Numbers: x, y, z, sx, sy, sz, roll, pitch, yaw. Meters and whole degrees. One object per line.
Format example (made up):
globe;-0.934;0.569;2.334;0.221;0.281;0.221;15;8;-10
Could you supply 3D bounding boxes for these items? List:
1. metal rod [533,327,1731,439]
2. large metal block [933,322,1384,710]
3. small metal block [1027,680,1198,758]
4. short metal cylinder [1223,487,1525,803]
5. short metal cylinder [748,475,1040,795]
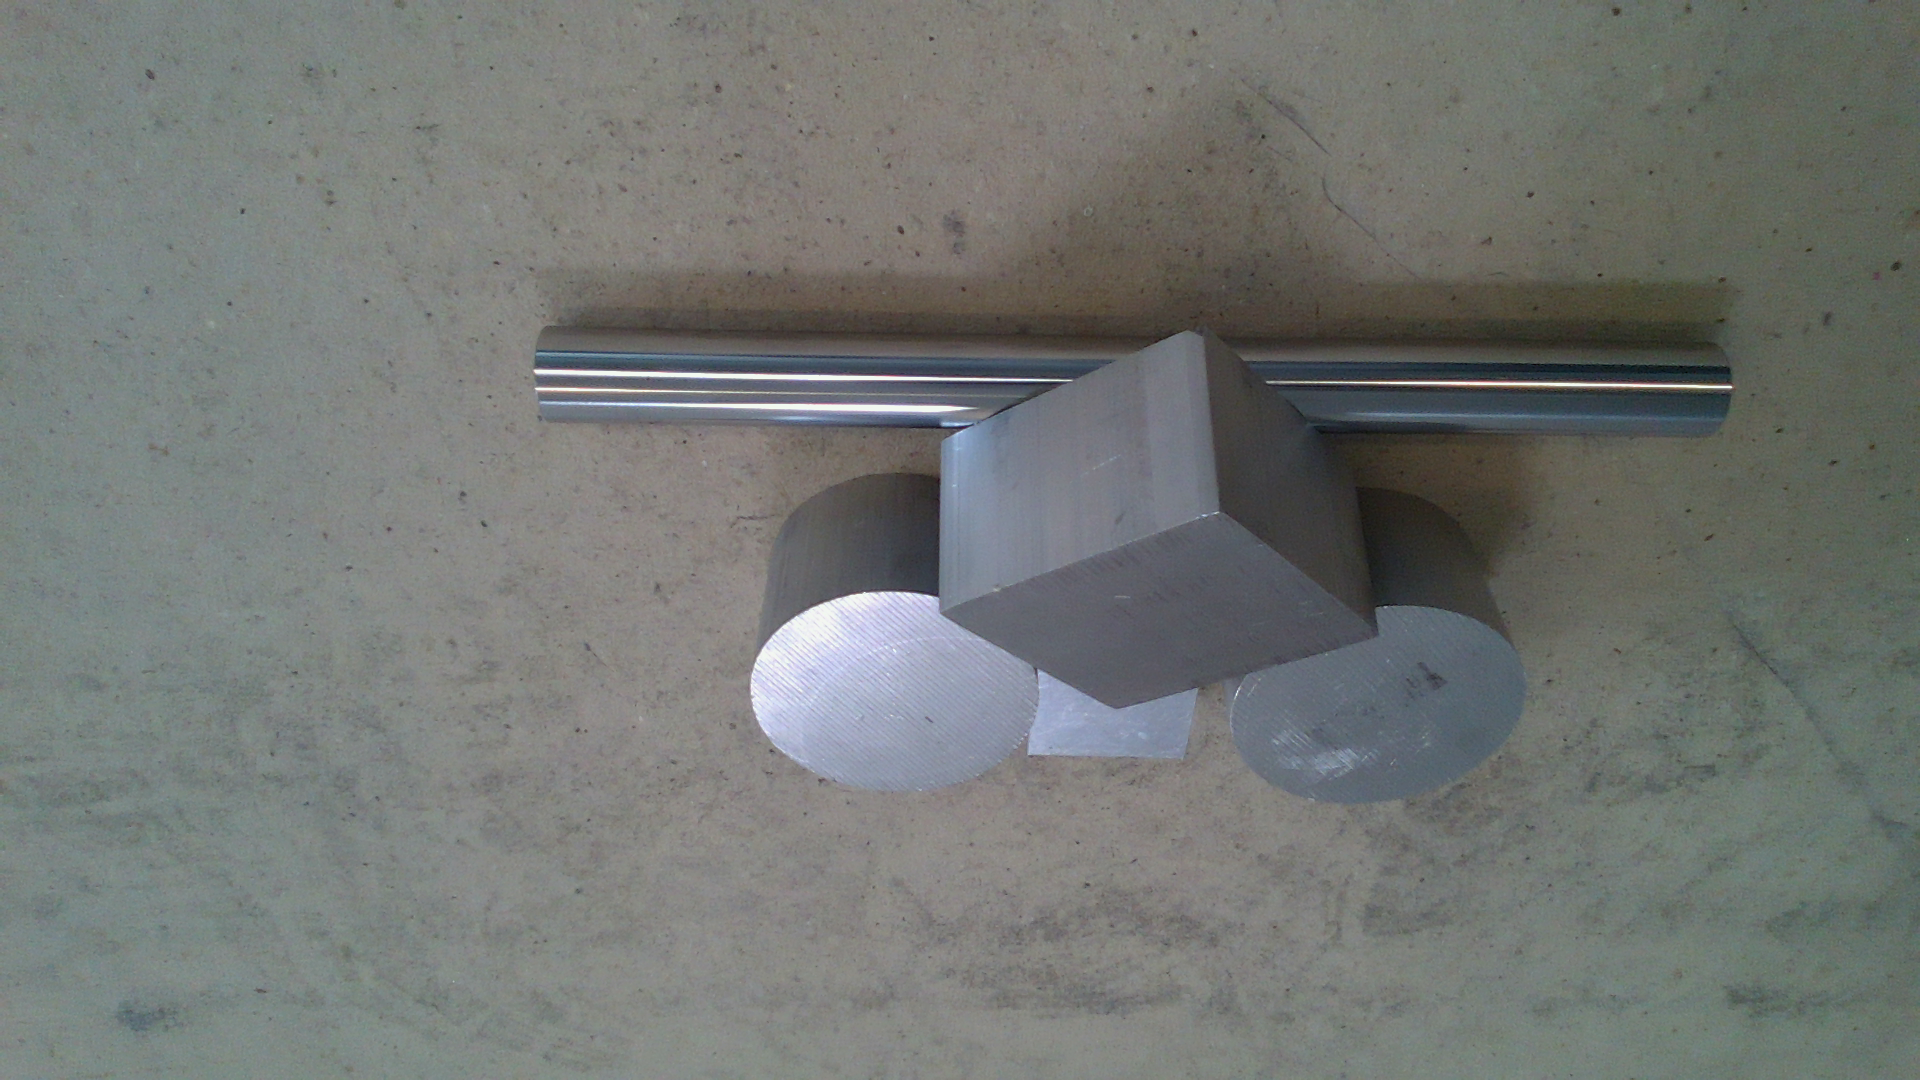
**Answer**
metal rod;0.044;-0.041;0.356;0.300;0.025;0.025;1;130;-1
large metal block;0.050;-0.001;0.351;0.080;0.050;0.080;-21;145;33
small metal block;0.047;0.041;0.426;0.050;0.025;0.050;1;130;-1
short metal cylinder;0.116;0.031;0.401;0.080;0.050;0.080;0;130;0
short metal cylinder;-0.018;0.028;0.397;0.080;0.050;0.080;0;130;0
